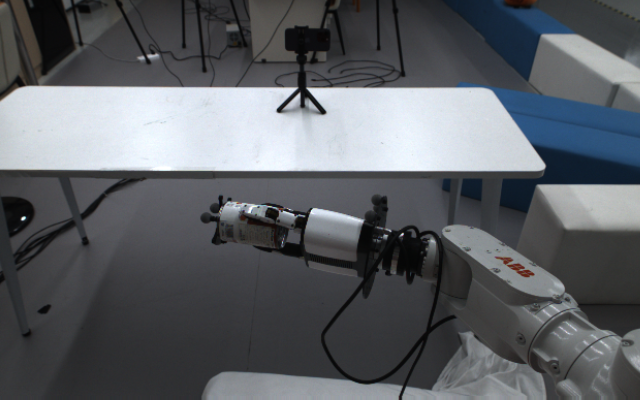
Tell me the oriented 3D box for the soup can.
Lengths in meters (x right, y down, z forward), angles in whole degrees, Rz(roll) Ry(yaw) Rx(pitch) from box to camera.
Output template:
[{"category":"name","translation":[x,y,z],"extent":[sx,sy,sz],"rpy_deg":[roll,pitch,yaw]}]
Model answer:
[{"category":"soup can","translation":[-0.105,0.042,0.781],"extent":[0.101,0.067,0.067],"rpy_deg":[7,35,10]}]
